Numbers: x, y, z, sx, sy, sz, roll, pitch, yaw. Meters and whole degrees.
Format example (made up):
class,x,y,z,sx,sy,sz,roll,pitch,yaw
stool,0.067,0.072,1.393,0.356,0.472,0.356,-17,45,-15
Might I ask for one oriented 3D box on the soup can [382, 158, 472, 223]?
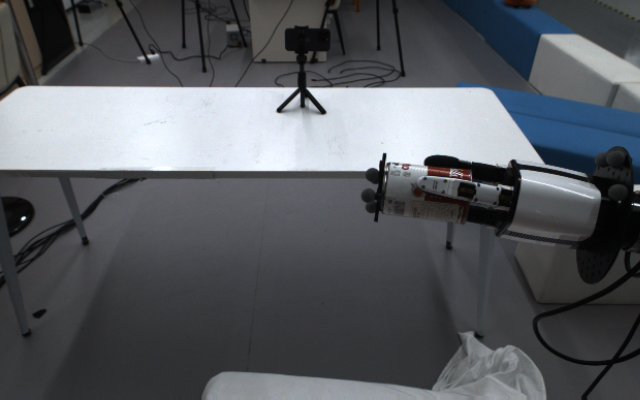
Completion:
class,x,y,z,sx,sy,sz,roll,pitch,yaw
soup can,0.132,-0.012,0.598,0.101,0.067,0.067,5,35,10
